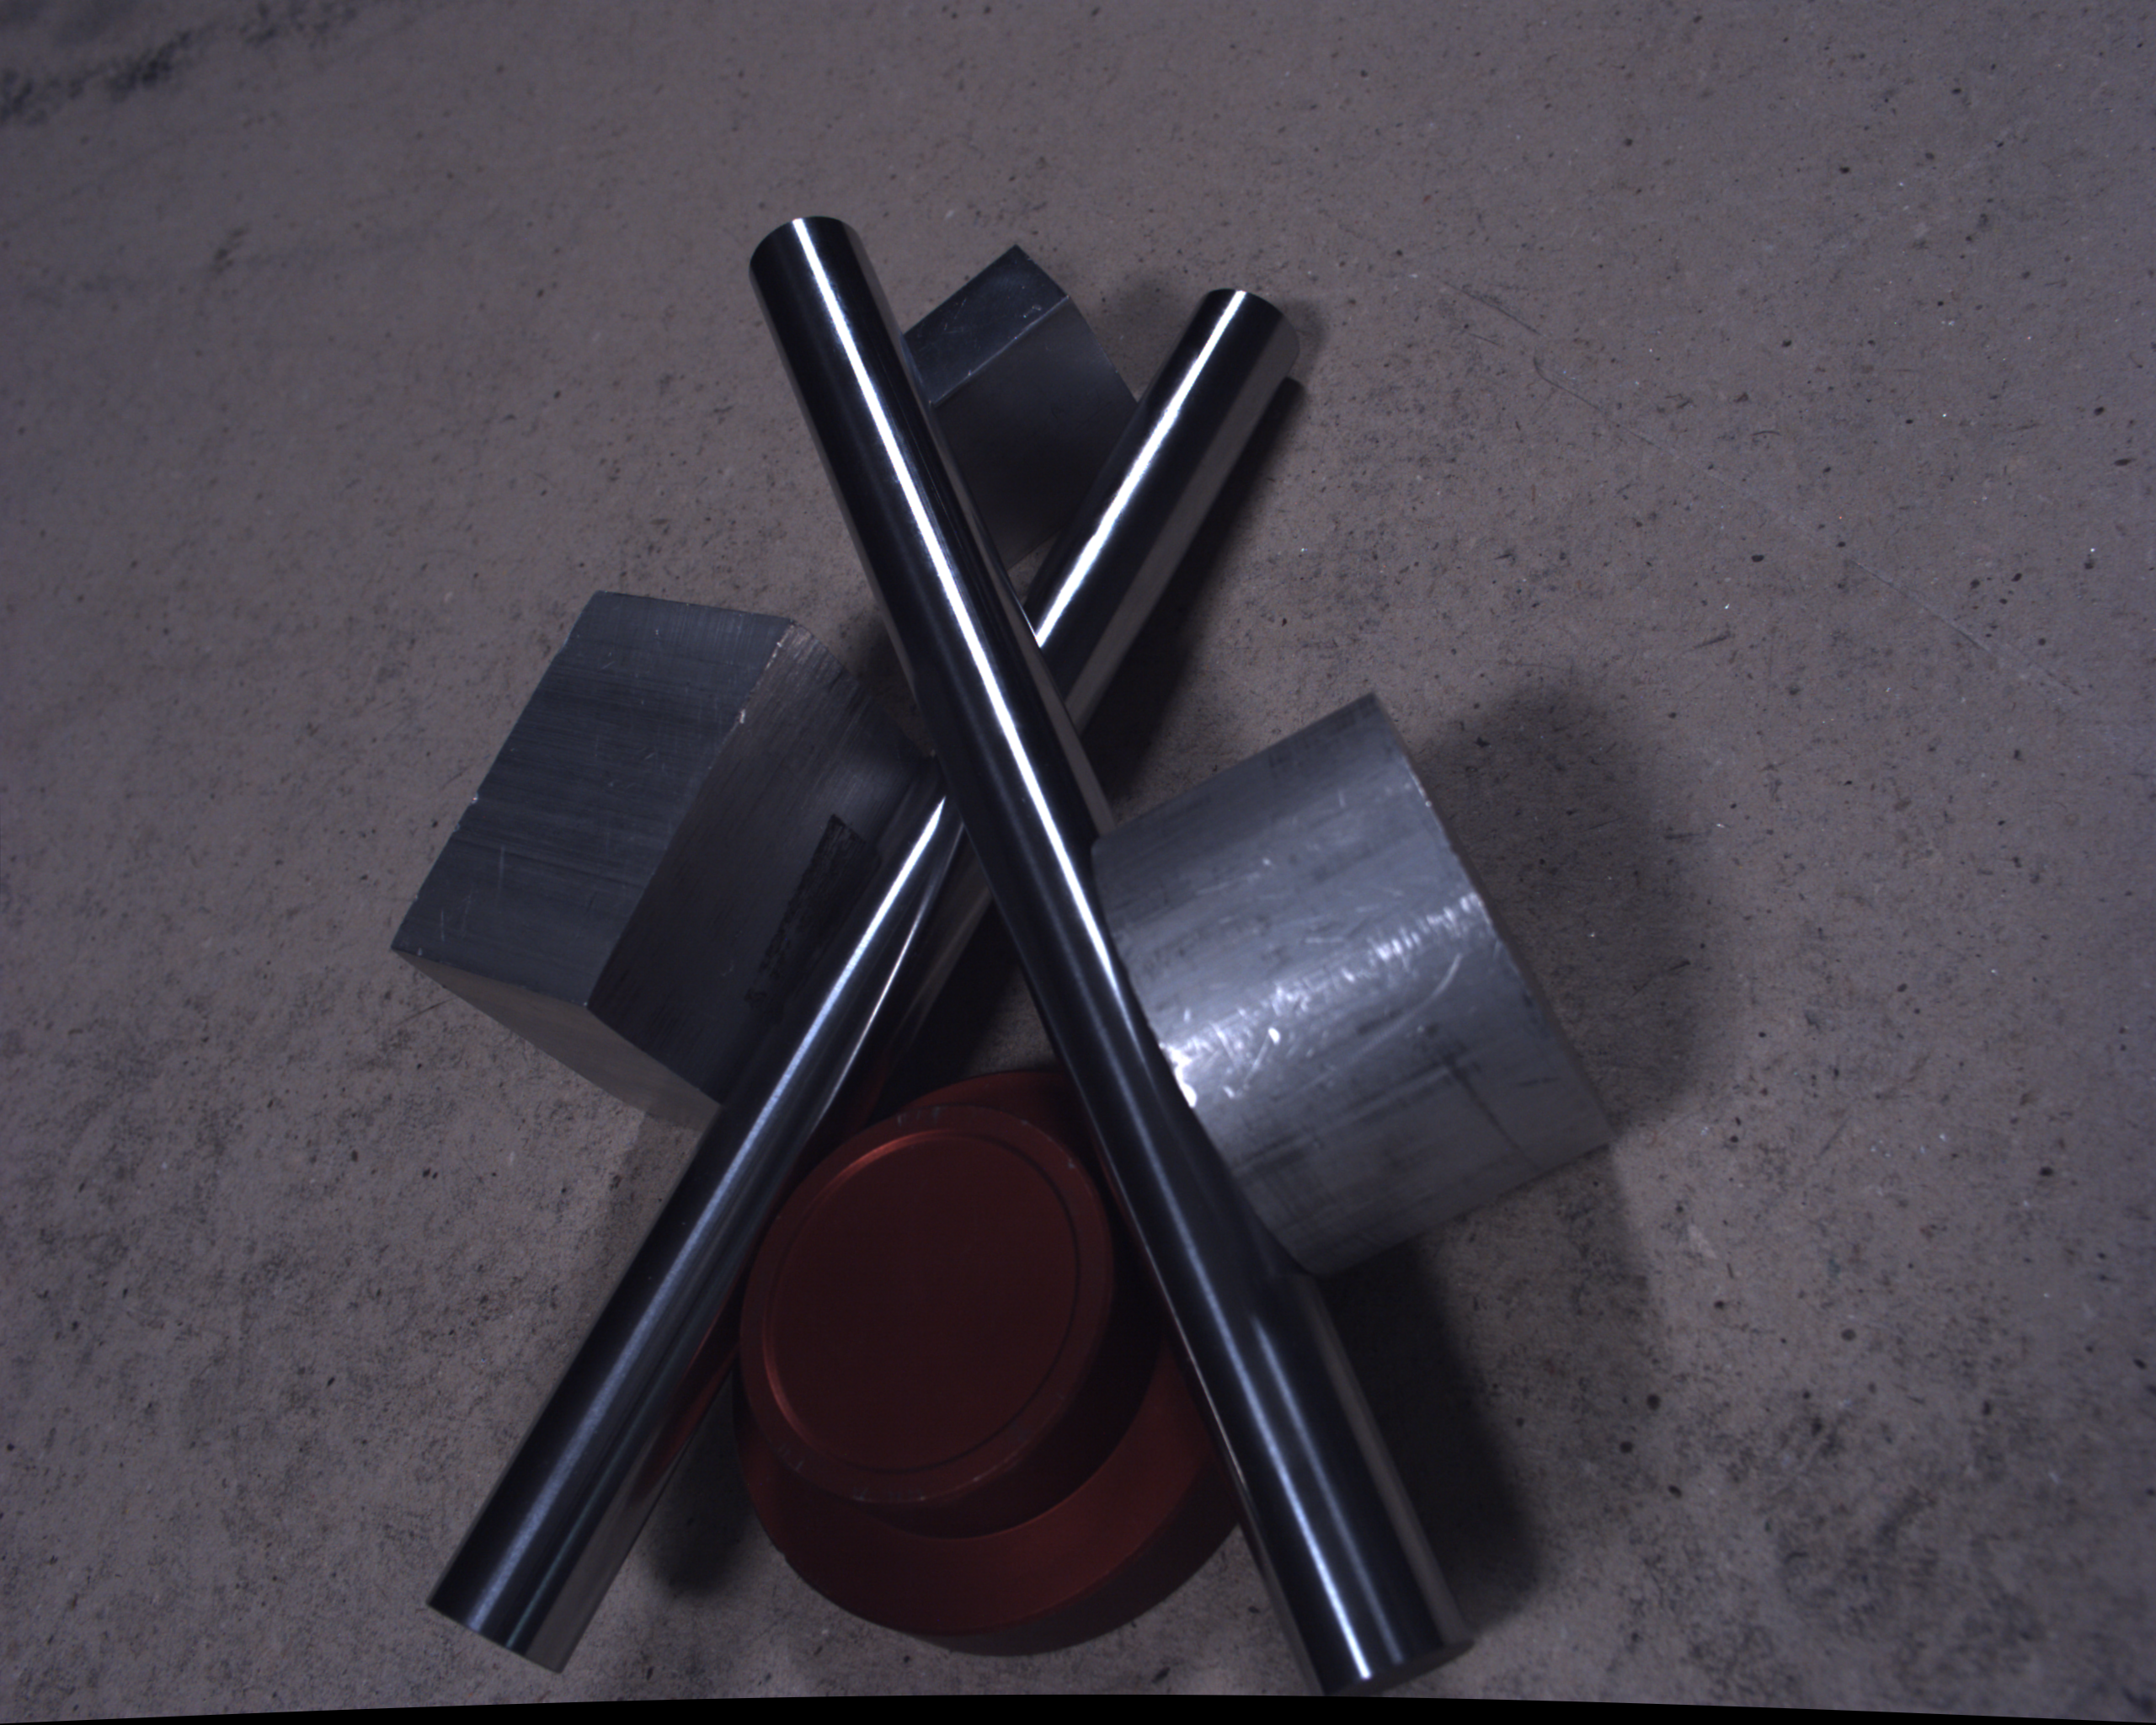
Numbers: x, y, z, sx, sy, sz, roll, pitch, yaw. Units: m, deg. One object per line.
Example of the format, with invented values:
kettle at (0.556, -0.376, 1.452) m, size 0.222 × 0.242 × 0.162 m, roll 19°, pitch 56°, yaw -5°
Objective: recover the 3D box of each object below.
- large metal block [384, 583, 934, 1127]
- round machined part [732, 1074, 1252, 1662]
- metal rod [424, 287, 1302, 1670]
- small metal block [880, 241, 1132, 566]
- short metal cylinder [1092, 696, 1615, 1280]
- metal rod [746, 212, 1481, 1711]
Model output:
large metal block at (-0.071, 0.004, 0.403) m, size 0.050 × 0.080 × 0.080 m, roll 12°, pitch 68°, yaw 33°
round machined part at (-0.017, 0.081, 0.353) m, size 0.098 × 0.042 × 0.098 m, roll -13°, pitch 56°, yaw 20°
metal rod at (-0.028, 0.004, 0.397) m, size 0.025 × 0.025 × 0.300 m, roll 12°, pitch 62°, yaw 33°
small metal block at (-0.017, -0.097, 0.456) m, size 0.050 × 0.050 × 0.025 m, roll -38°, pitch 51°, yaw 2°
short metal cylinder at (0.044, 0.020, 0.334) m, size 0.050 × 0.080 × 0.080 m, roll -28°, pitch 52°, yaw 10°
metal rod at (-0.006, -0.006, 0.367) m, size 0.025 × 0.025 × 0.299 m, roll -29°, pitch 61°, yaw 10°
